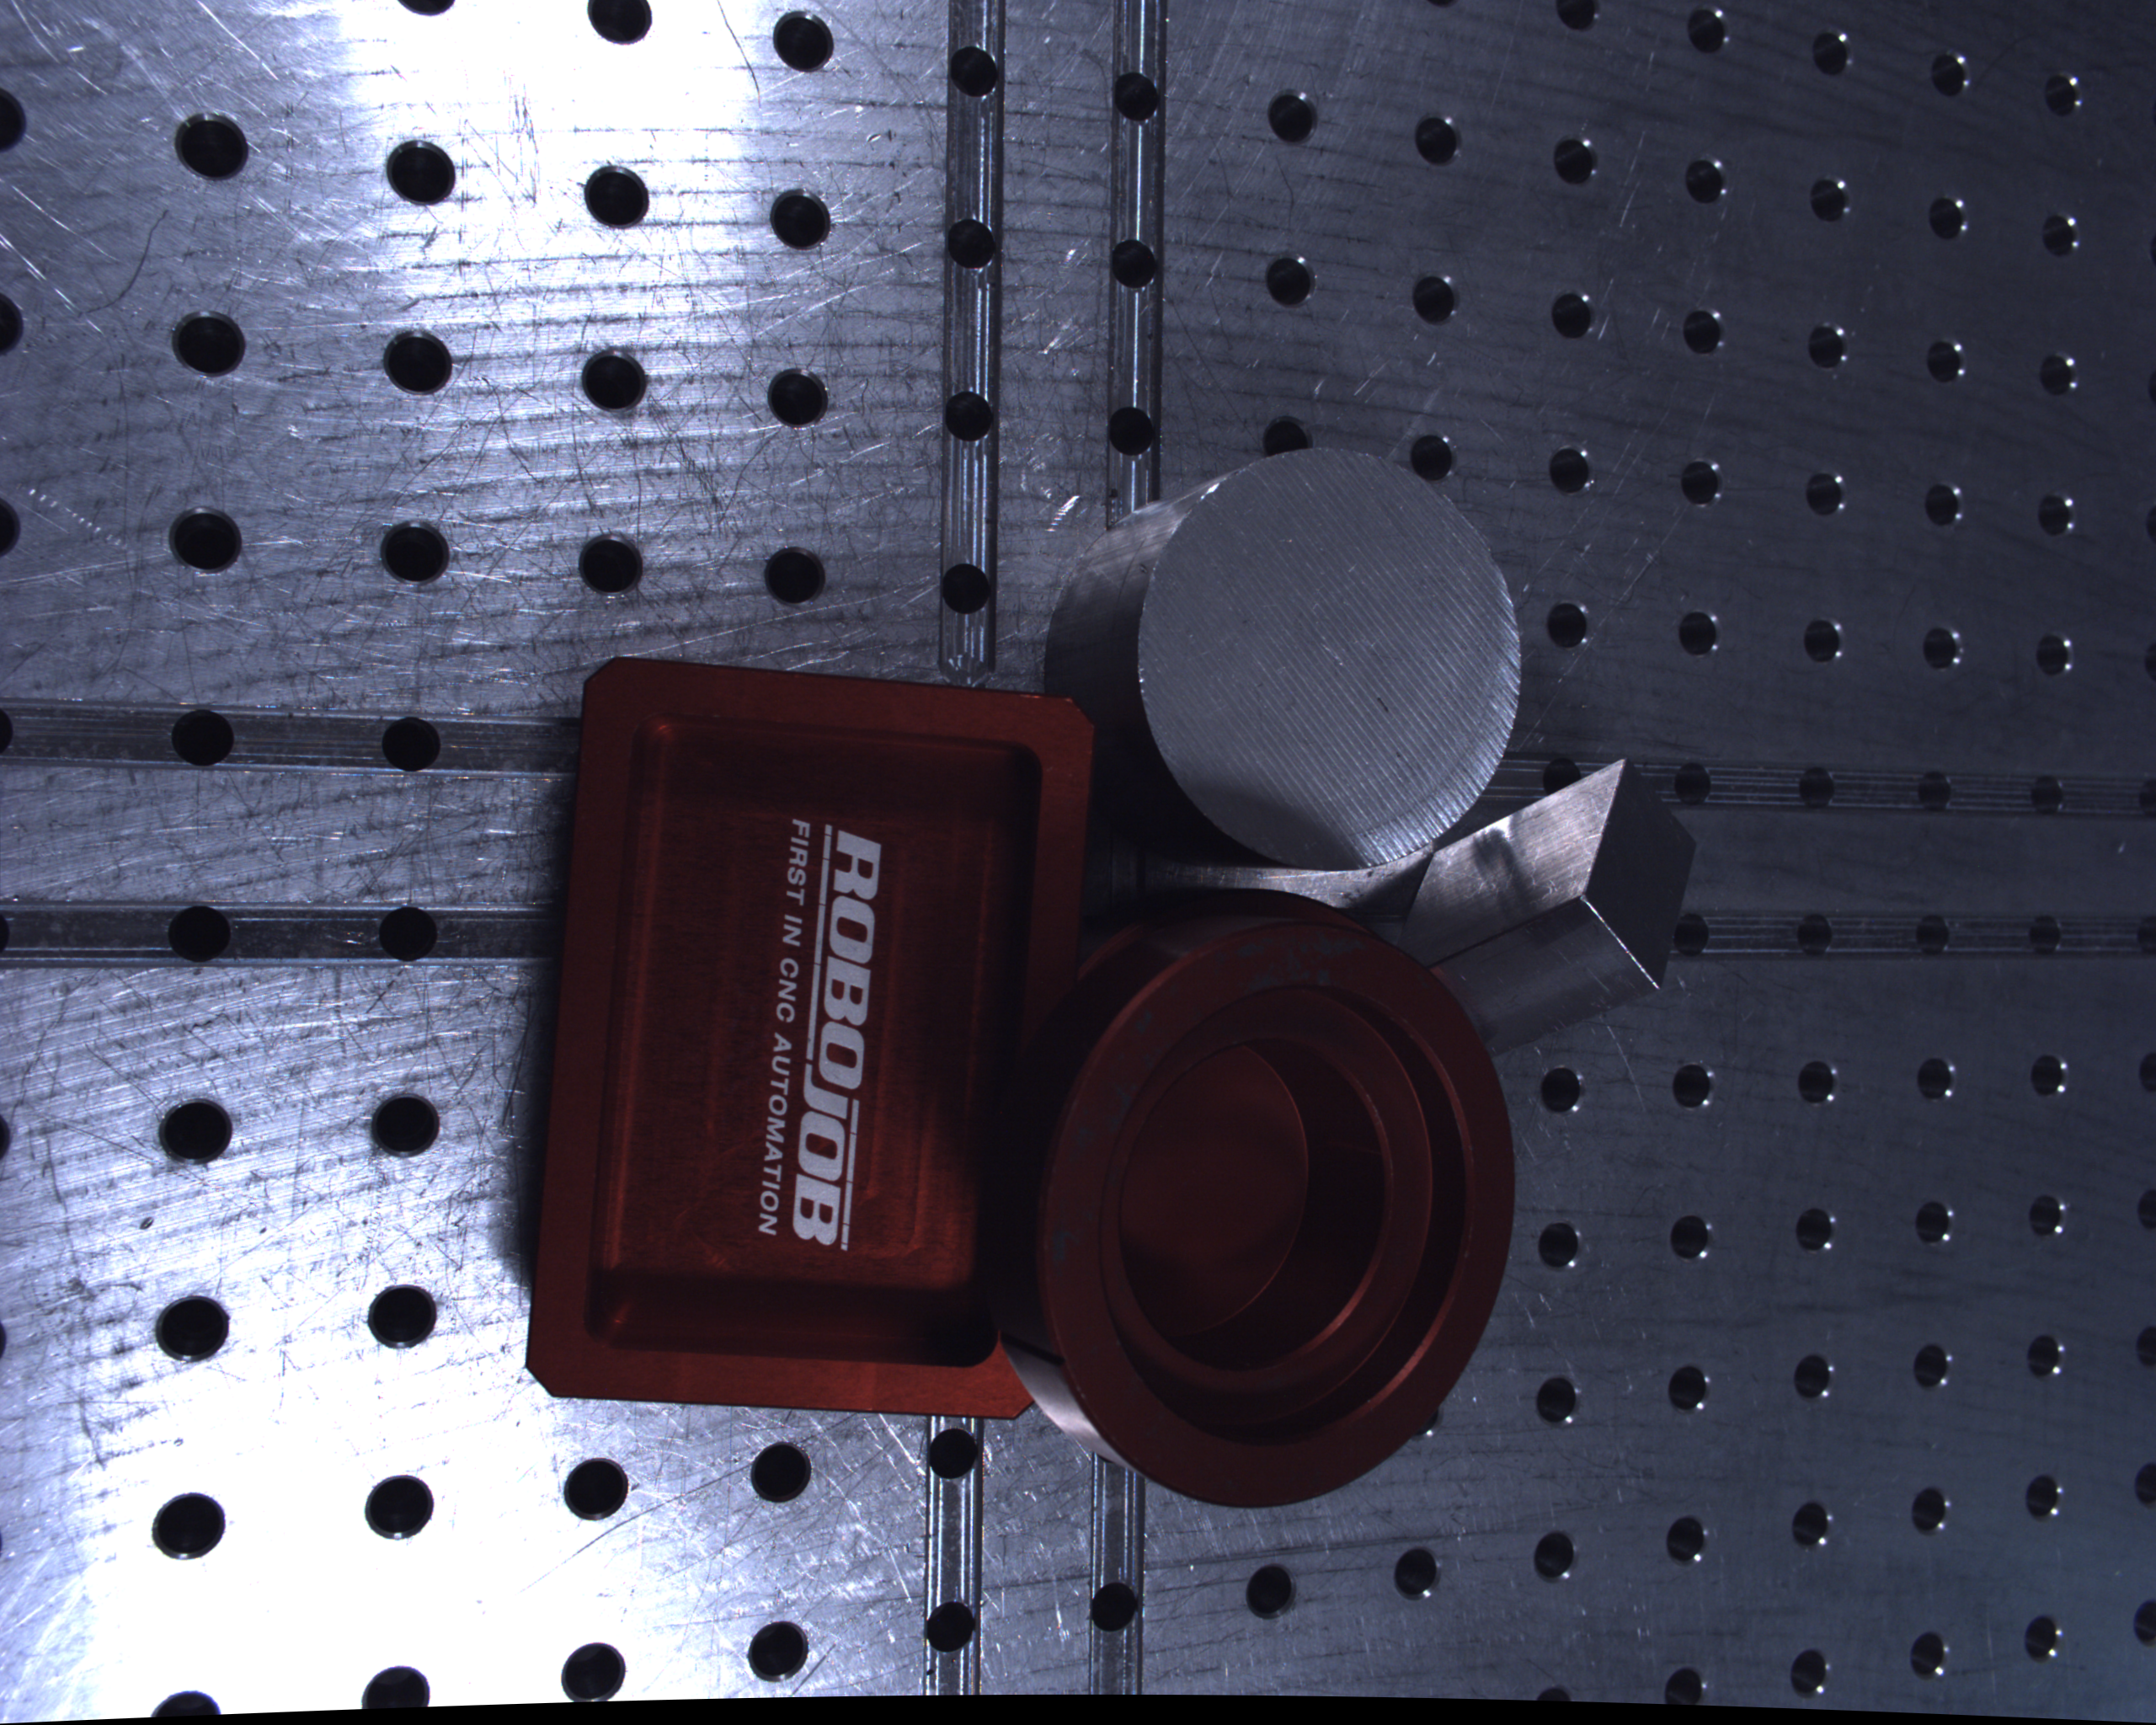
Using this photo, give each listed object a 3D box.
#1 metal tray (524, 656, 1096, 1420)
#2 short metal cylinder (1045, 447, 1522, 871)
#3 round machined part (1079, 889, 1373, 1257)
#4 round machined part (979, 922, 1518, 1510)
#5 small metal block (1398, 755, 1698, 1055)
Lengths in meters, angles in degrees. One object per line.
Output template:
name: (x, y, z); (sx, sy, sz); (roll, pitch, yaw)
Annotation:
metal tray: (-0.048, 0.032, 0.381); (0.091, 0.030, 0.129); (5, 88, -6)
short metal cylinder: (0.040, -0.038, 0.415); (0.081, 0.050, 0.079); (0, 90, -21)
round machined part: (0.035, 0.054, 0.416); (0.099, 0.042, 0.097); (0, 90, -21)
round machined part: (0.026, 0.058, 0.363); (0.099, 0.042, 0.097); (-1, 93, -31)
small metal block: (0.094, 0.011, 0.425); (0.025, 0.050, 0.050); (49, 40, -14)
